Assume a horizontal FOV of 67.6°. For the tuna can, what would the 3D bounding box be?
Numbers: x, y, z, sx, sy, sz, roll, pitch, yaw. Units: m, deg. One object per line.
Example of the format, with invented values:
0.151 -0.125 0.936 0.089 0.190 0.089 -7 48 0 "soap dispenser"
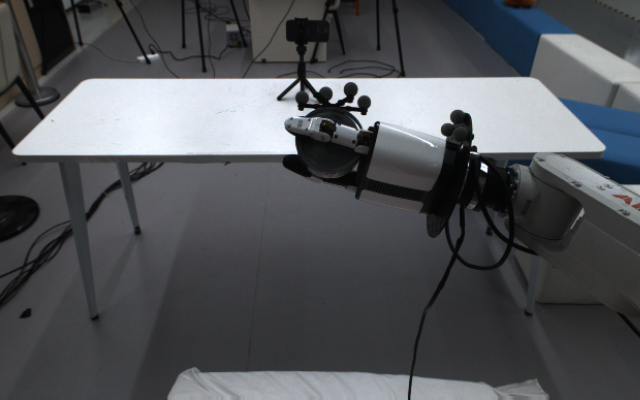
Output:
0.013 -0.072 0.609 0.085 0.034 0.085 0 76 0 "tuna can"
